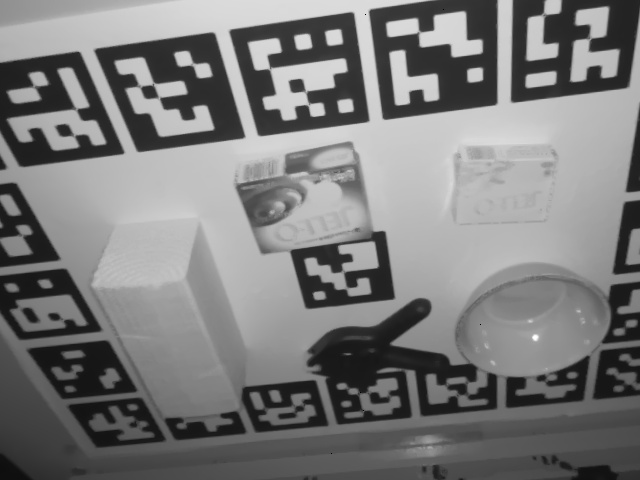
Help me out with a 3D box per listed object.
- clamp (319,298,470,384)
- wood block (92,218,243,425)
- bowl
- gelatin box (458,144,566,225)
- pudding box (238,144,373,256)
[{"bbox_3d":[0.076,0.127,0.787,0.164,0.037,0.121,-15,126,14],"label":"clamp"},{"bbox_3d":[-0.149,0.088,0.714,0.090,0.092,0.205,-4,127,6],"label":"wood block"},{"bbox_3d":[0.228,0.082,0.738,0.162,0.055,0.160,1,125,2],"label":"bowl"},{"bbox_3d":[0.175,-0.050,0.642,0.089,0.030,0.072,-1,126,1],"label":"gelatin box"},{"bbox_3d":[-0.011,-0.037,0.650,0.114,0.039,0.089,-9,123,4],"label":"pudding box"}]
